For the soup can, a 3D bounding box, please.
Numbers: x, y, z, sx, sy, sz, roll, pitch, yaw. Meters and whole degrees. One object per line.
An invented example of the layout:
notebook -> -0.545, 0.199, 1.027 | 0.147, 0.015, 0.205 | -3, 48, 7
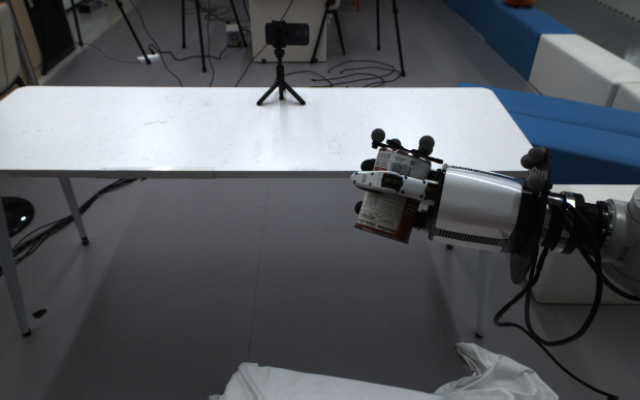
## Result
soup can -> 0.090, -0.006, 0.587 | 0.067, 0.101, 0.067 | 17, -1, 0
